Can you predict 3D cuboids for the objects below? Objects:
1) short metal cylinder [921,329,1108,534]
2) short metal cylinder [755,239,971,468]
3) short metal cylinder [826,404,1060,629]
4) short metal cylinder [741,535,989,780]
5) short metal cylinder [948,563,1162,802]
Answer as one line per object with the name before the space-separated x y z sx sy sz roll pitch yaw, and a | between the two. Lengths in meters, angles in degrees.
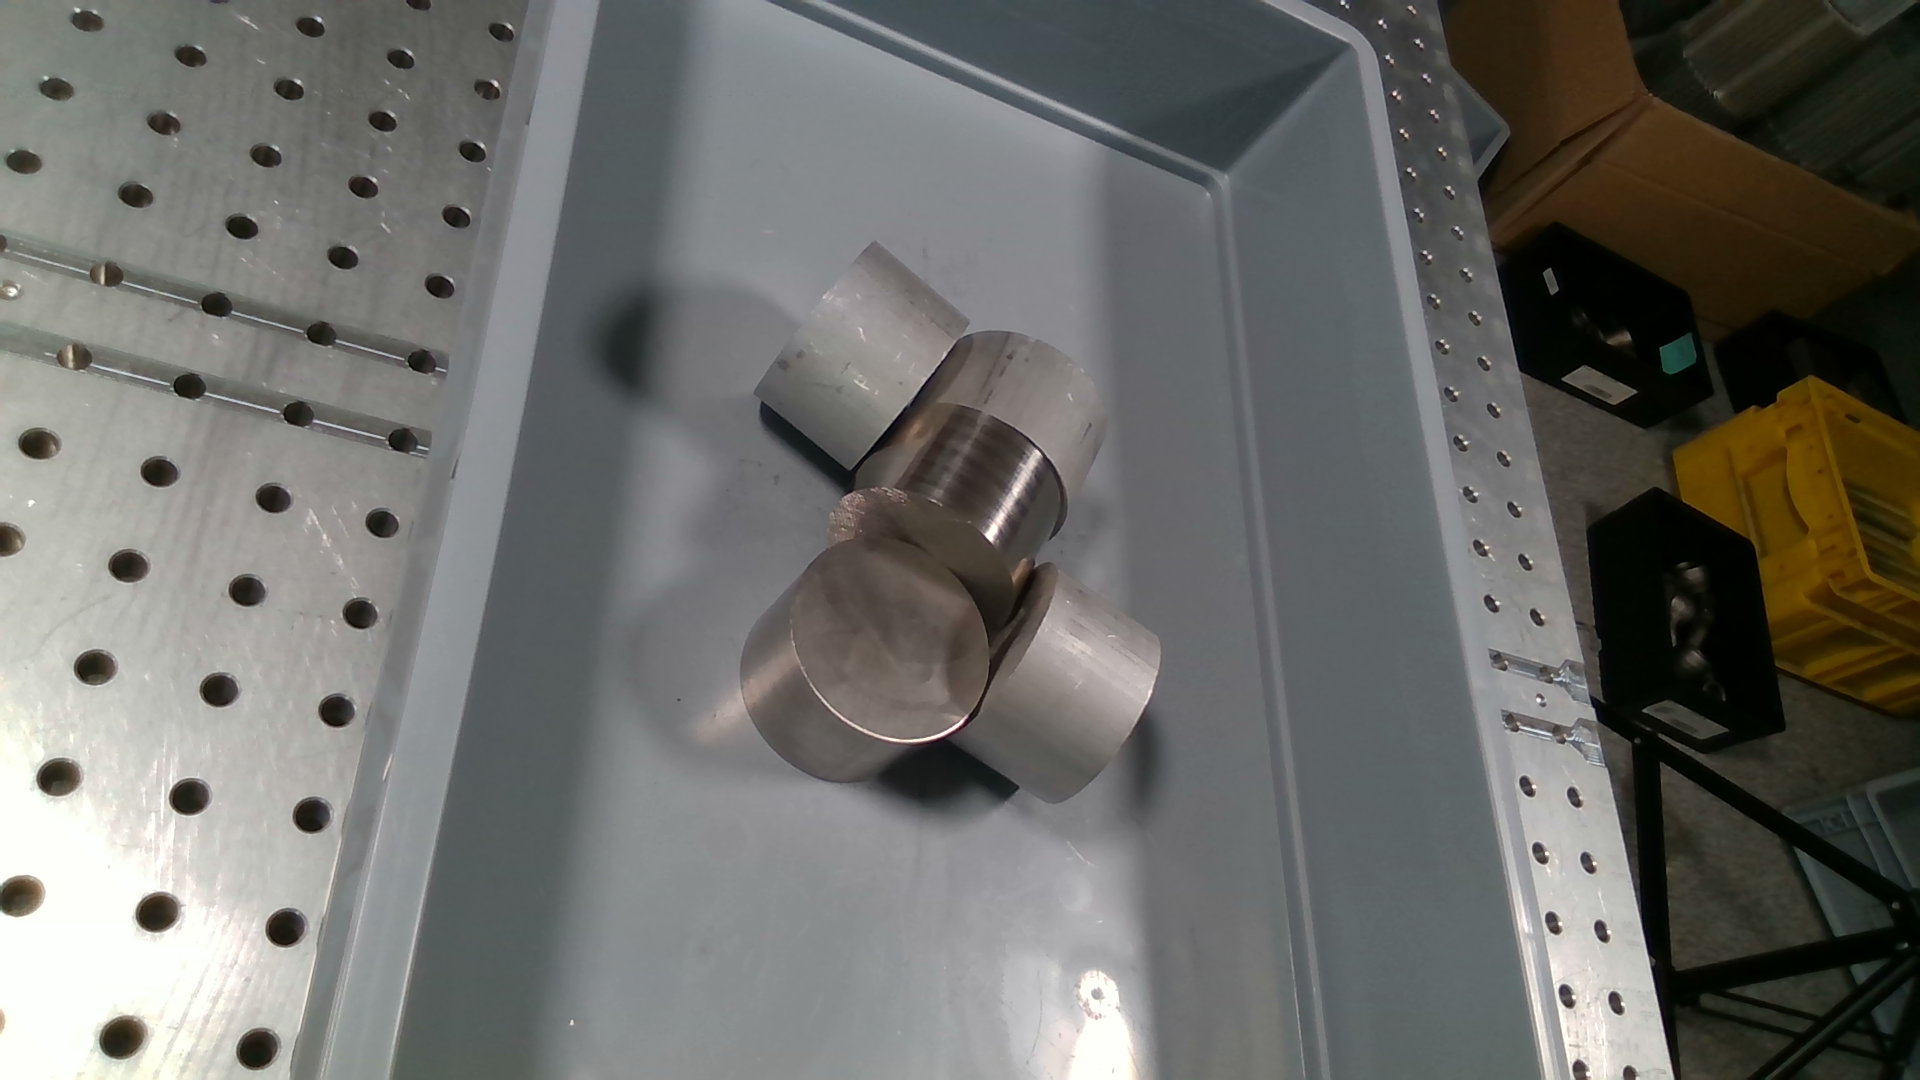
short metal cylinder | 0.016 -0.042 0.581 0.080 0.080 0.050 36 52 -10
short metal cylinder | -0.040 -0.076 0.565 0.050 0.080 0.080 39 51 -8
short metal cylinder | -0.006 -0.007 0.550 0.080 0.080 0.050 37 52 -9
short metal cylinder | -0.036 0.045 0.522 0.080 0.050 0.080 14 59 -25
short metal cylinder | 0.034 0.055 0.540 0.050 0.080 0.080 34 52 -11
